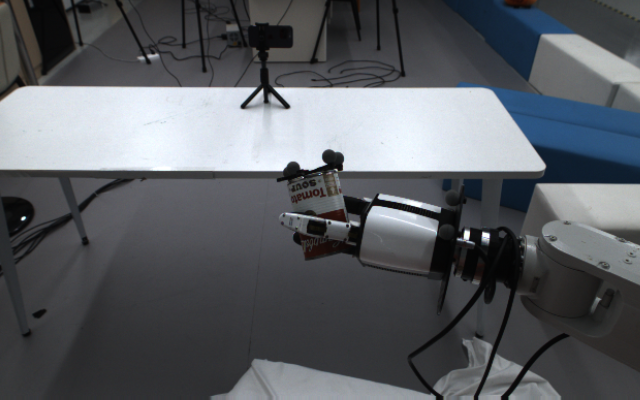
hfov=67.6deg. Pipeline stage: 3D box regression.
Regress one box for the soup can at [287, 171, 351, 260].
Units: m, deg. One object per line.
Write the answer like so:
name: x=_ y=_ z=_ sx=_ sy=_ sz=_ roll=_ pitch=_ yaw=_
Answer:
soup can: x=0.003 y=0.019 z=0.616 sx=0.067 sy=0.101 sz=0.067 roll=-14 pitch=-2 yaw=-1
